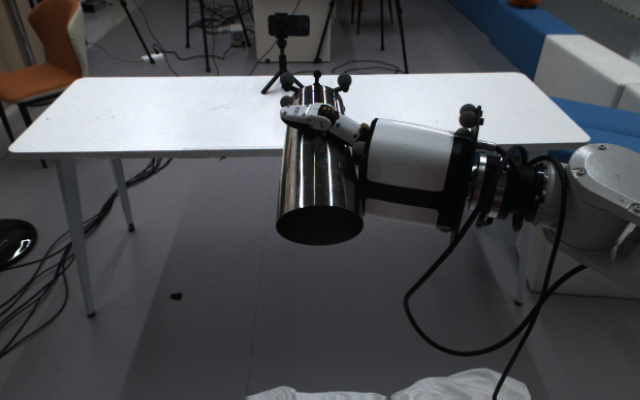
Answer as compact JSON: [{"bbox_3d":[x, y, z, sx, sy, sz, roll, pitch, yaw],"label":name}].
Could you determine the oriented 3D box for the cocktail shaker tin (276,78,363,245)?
[{"bbox_3d":[-0.003,-0.045,0.543,0.093,0.093,0.170,0,59,-3],"label":"cocktail shaker tin"}]
